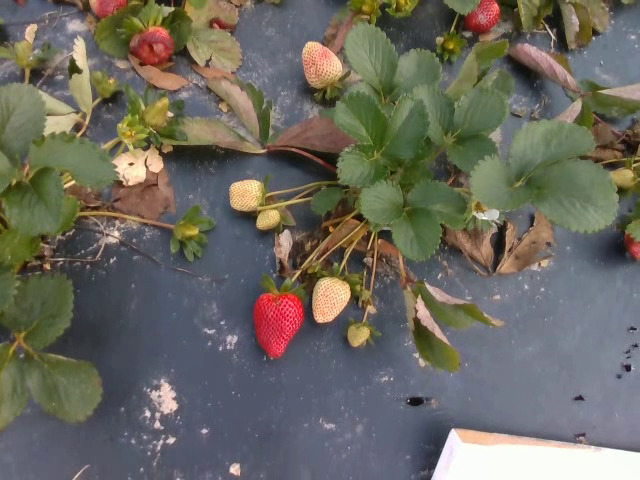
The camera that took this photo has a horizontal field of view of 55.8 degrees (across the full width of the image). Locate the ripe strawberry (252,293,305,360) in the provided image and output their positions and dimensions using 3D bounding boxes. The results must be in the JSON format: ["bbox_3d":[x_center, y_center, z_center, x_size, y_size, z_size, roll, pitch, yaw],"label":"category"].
[{"bbox_3d":[-0.033,0.066,0.473,0.050,0.059,0.034,2,-31,-7],"label":"ripe strawberry"}]
